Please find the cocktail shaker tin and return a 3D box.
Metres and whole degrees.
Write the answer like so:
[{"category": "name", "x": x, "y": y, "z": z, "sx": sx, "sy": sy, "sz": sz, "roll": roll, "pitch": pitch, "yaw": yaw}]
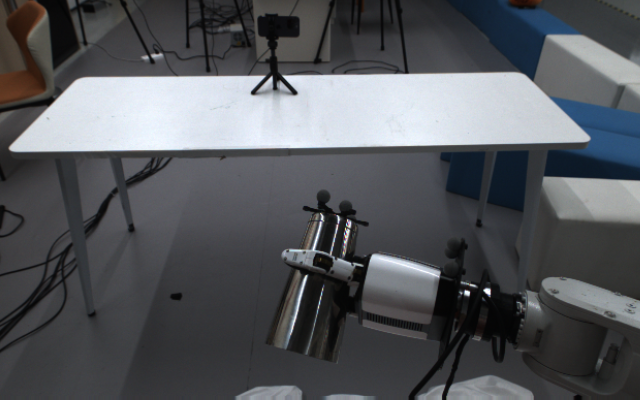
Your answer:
[{"category": "cocktail shaker tin", "x": 0.000, "y": 0.107, "z": 0.607, "sx": 0.093, "sy": 0.093, "sz": 0.170, "roll": 11, "pitch": 72, "yaw": 12}]
